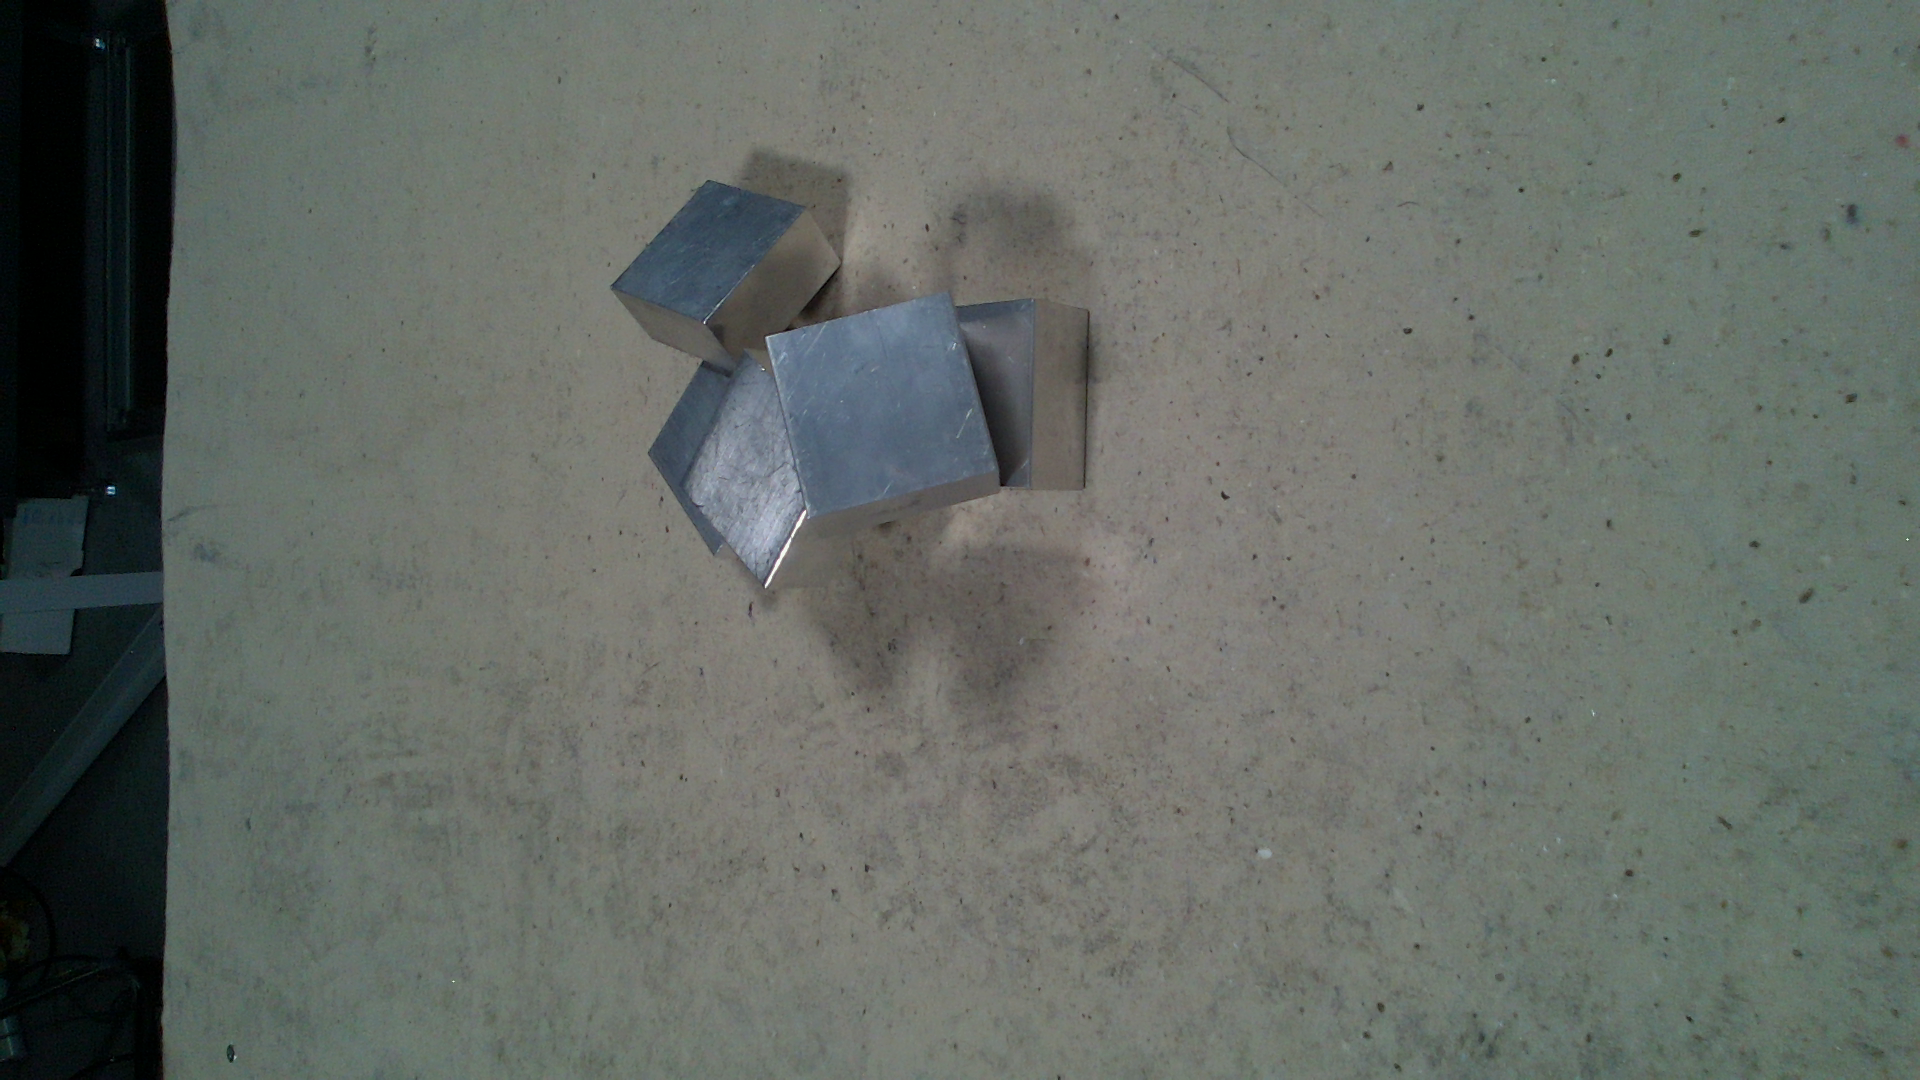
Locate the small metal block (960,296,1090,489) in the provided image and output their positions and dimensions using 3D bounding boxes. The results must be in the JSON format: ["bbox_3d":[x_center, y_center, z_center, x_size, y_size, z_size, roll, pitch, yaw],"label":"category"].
[{"bbox_3d":[0.008,-0.040,0.388,0.050,0.025,0.050,2,92,40],"label":"small metal block"}]

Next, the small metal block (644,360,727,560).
[{"bbox_3d":[-0.073,-0.029,0.456,0.050,0.025,0.050,-52,59,27],"label":"small metal block"}]

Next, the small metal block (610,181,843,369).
[{"bbox_3d":[-0.075,-0.085,0.443,0.050,0.025,0.050,24,69,38],"label":"small metal block"}]

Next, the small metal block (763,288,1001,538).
[{"bbox_3d":[-0.020,-0.033,0.362,0.050,0.025,0.050,-14,78,-1],"label":"small metal block"}]

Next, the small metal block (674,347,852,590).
[{"bbox_3d":[-0.052,-0.021,0.404,0.050,0.025,0.050,45,117,31],"label":"small metal block"}]
